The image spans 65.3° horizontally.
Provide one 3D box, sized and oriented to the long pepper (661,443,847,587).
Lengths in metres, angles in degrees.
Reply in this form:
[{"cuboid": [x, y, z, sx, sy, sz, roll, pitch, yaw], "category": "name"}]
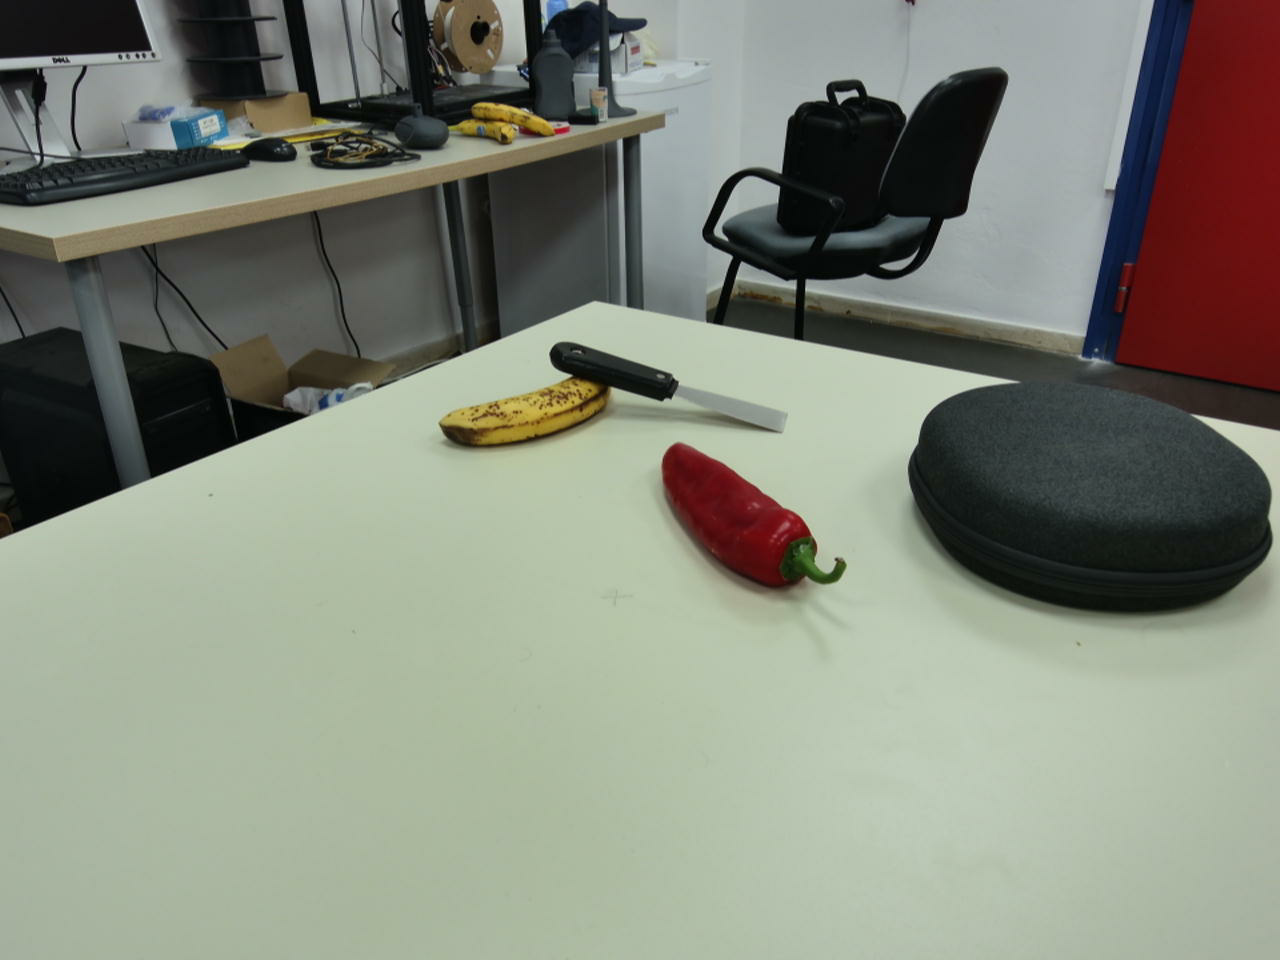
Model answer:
[{"cuboid": [0.056, 0.018, 0.608, 0.050, 0.043, 0.211, -10, 27, -20], "category": "long pepper"}]
